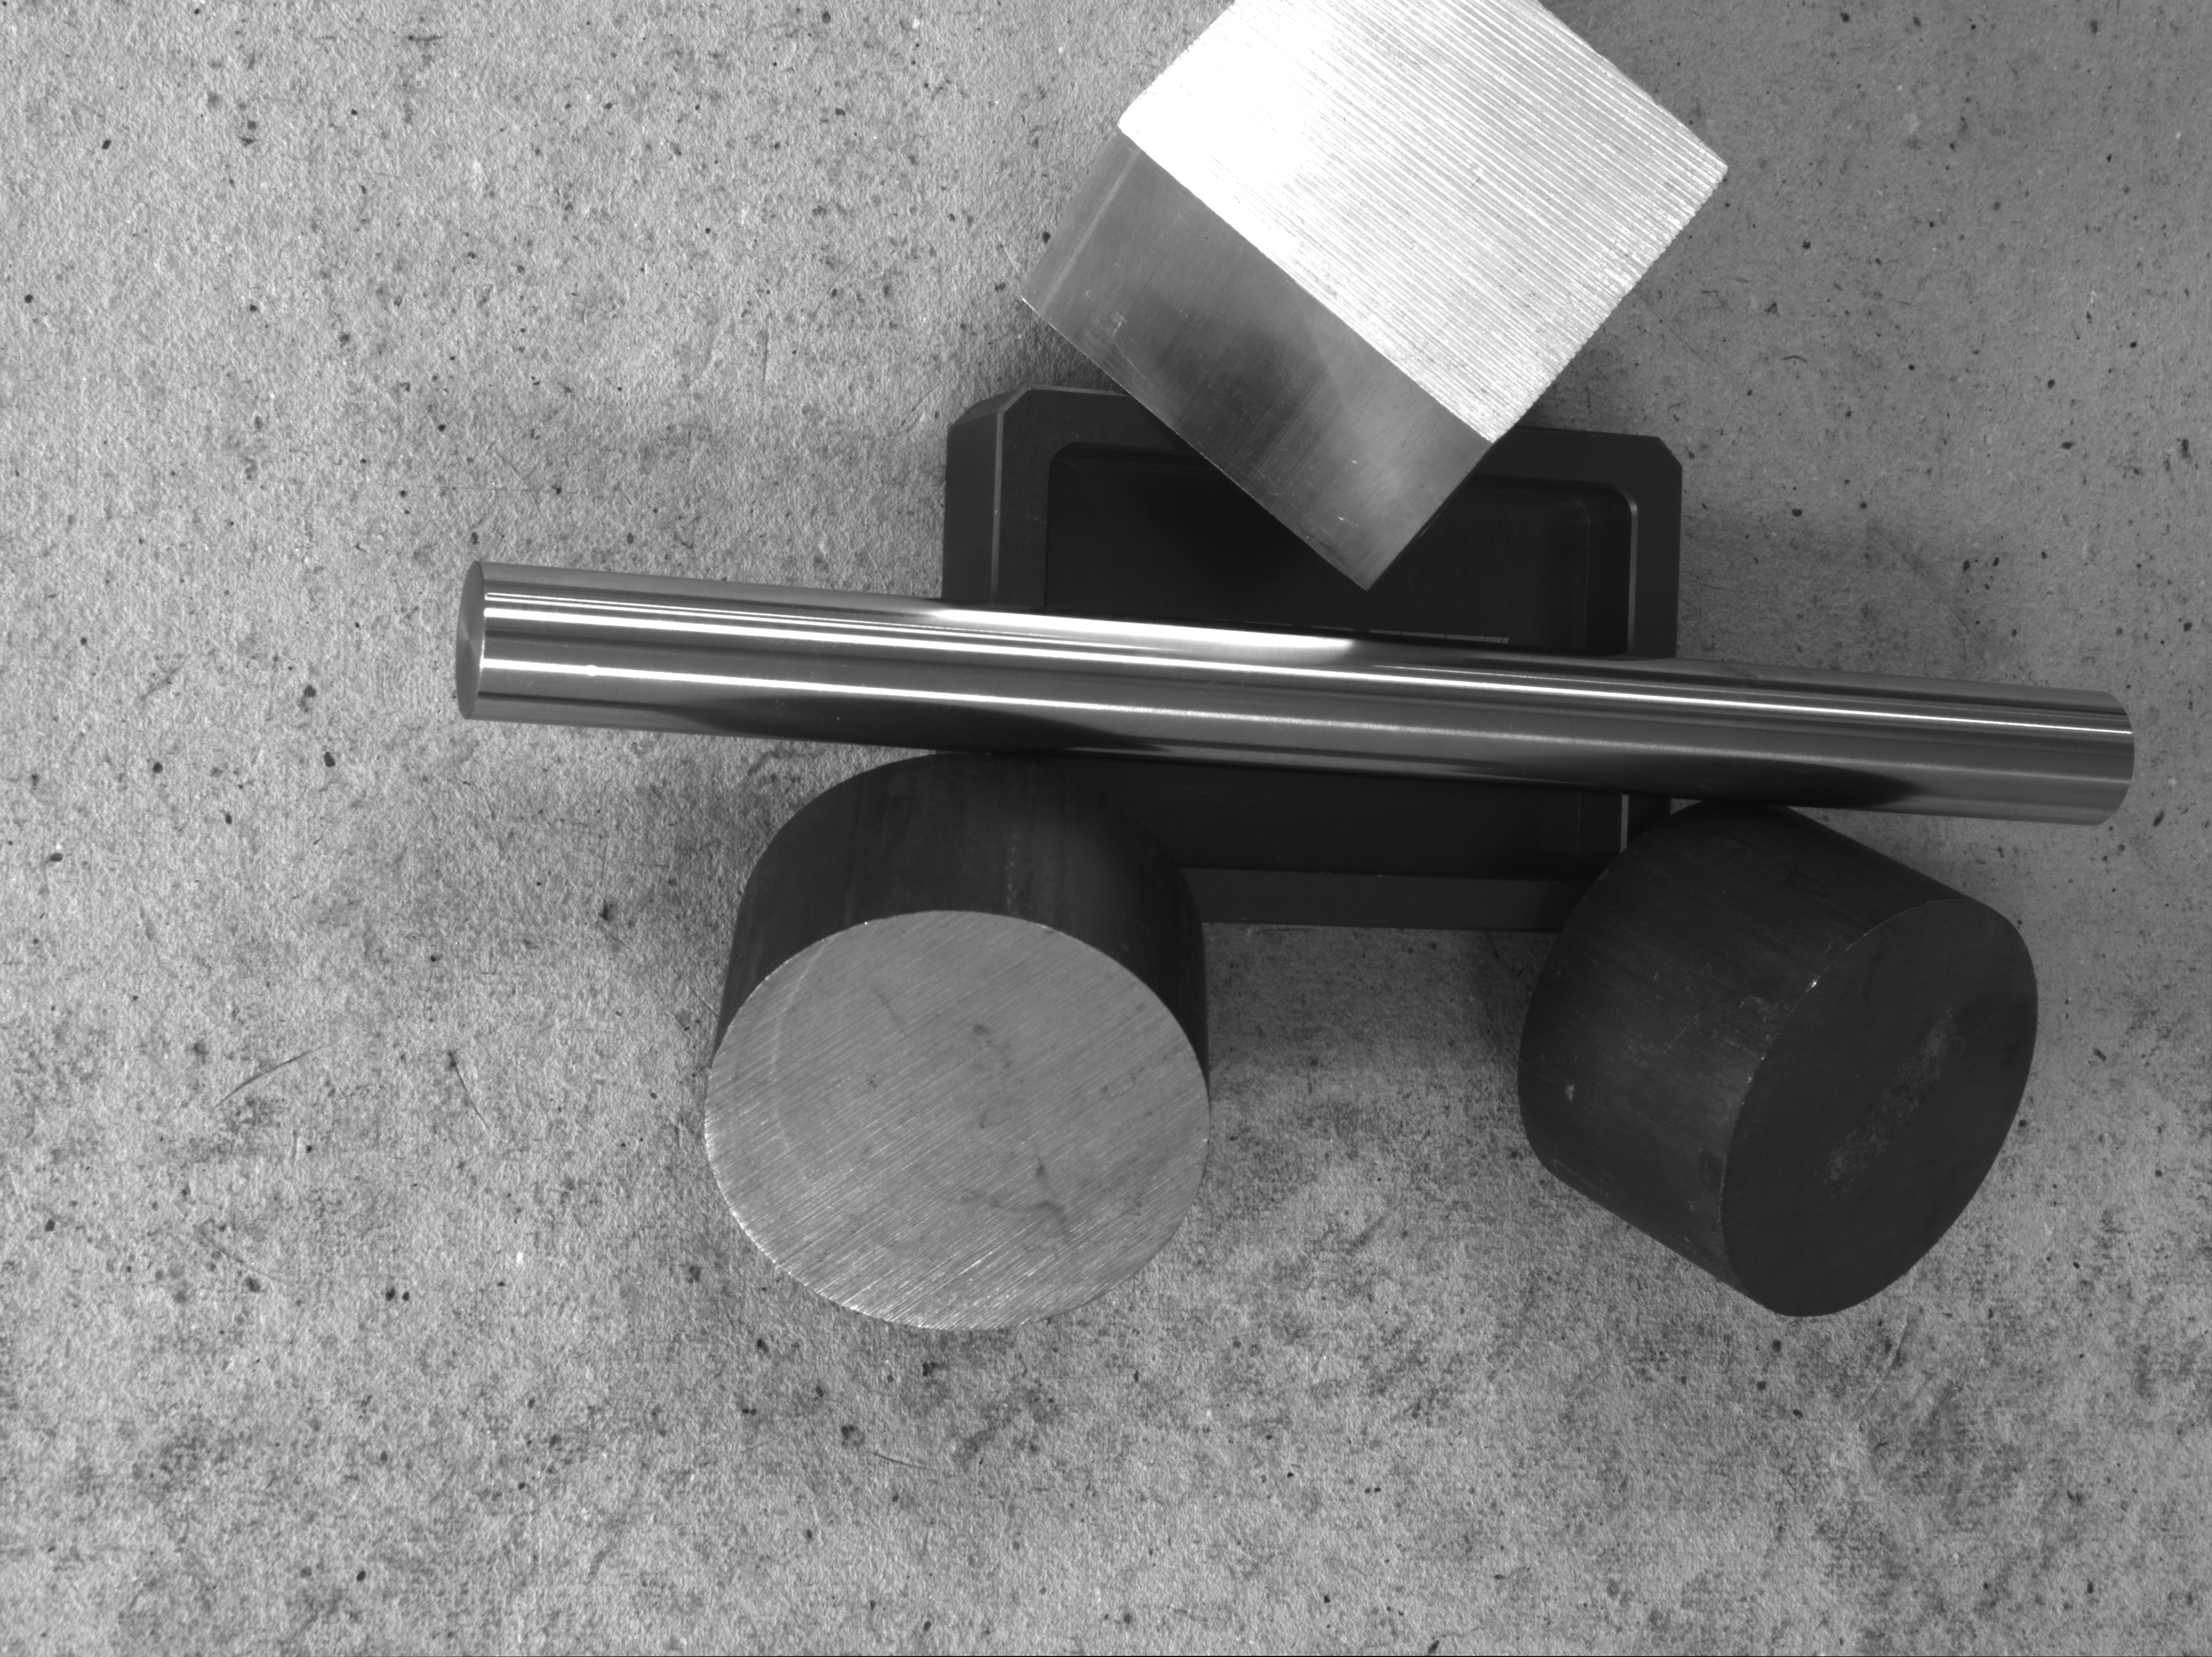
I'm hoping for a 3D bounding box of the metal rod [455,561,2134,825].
[{"bbox_3d":[0.041,-0.021,0.627,0.301,0.025,0.025,3,89,-20],"label":"metal rod"}]

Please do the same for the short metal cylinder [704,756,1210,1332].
[{"bbox_3d":[-0.023,0.035,0.602,0.080,0.050,0.080,0,120,0],"label":"short metal cylinder"}]

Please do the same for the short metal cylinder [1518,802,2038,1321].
[{"bbox_3d":[0.120,0.041,0.657,0.080,0.050,0.080,-19,122,-32],"label":"short metal cylinder"}]

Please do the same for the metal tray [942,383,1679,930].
[{"bbox_3d":[0.036,-0.028,0.655,0.130,0.030,0.090,2,89,-20],"label":"metal tray"}]

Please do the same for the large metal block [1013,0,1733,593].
[{"bbox_3d":[0.045,-0.102,0.624,0.080,0.050,0.080,41,60,1],"label":"large metal block"}]
